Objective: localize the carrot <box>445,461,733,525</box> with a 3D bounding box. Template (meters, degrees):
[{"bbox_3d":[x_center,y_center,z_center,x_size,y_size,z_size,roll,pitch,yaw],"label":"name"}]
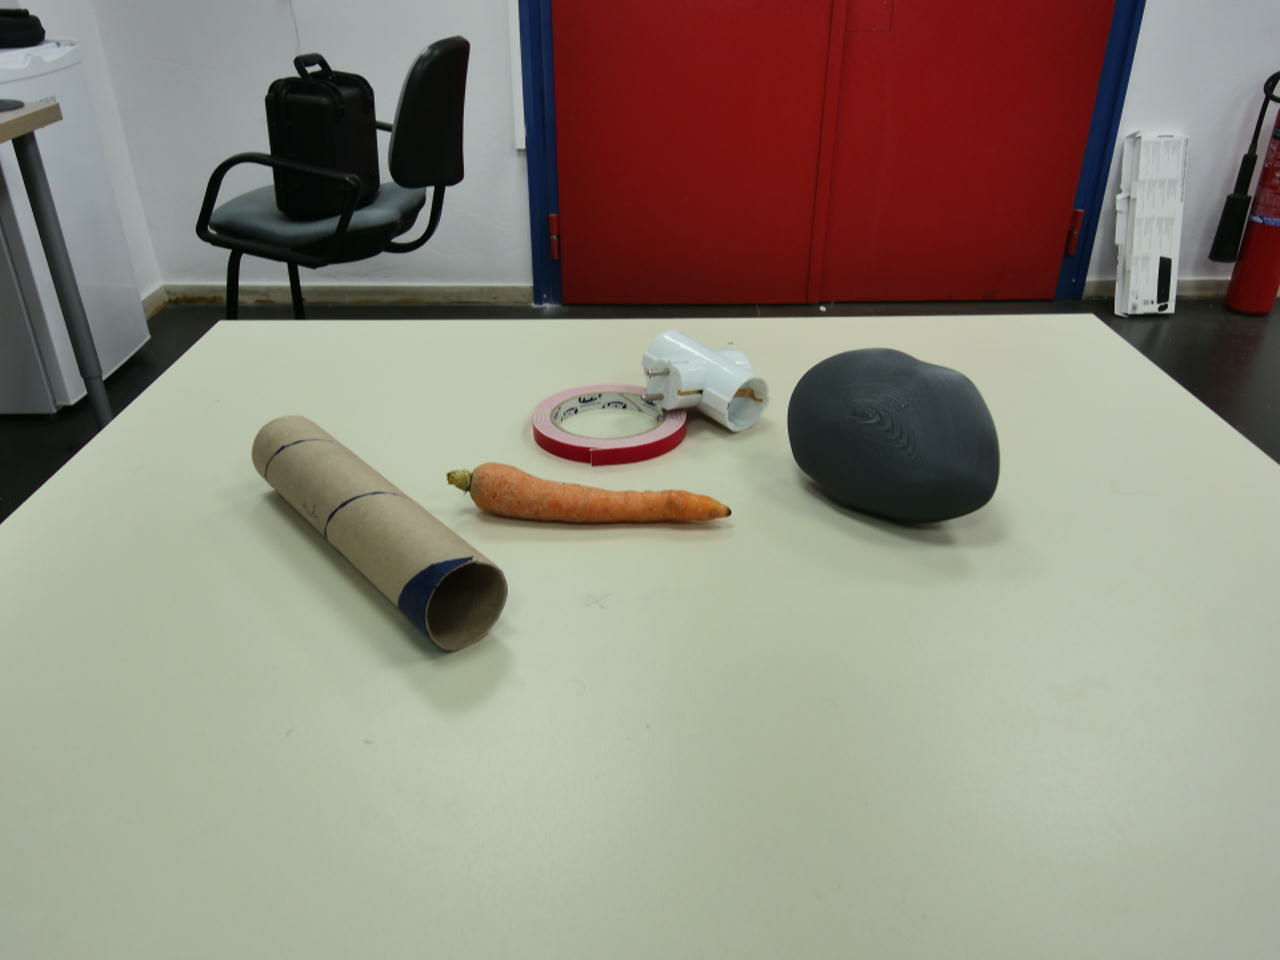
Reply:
[{"bbox_3d":[-0.031,0.009,0.595,0.173,0.032,0.030,4,27,8],"label":"carrot"}]
